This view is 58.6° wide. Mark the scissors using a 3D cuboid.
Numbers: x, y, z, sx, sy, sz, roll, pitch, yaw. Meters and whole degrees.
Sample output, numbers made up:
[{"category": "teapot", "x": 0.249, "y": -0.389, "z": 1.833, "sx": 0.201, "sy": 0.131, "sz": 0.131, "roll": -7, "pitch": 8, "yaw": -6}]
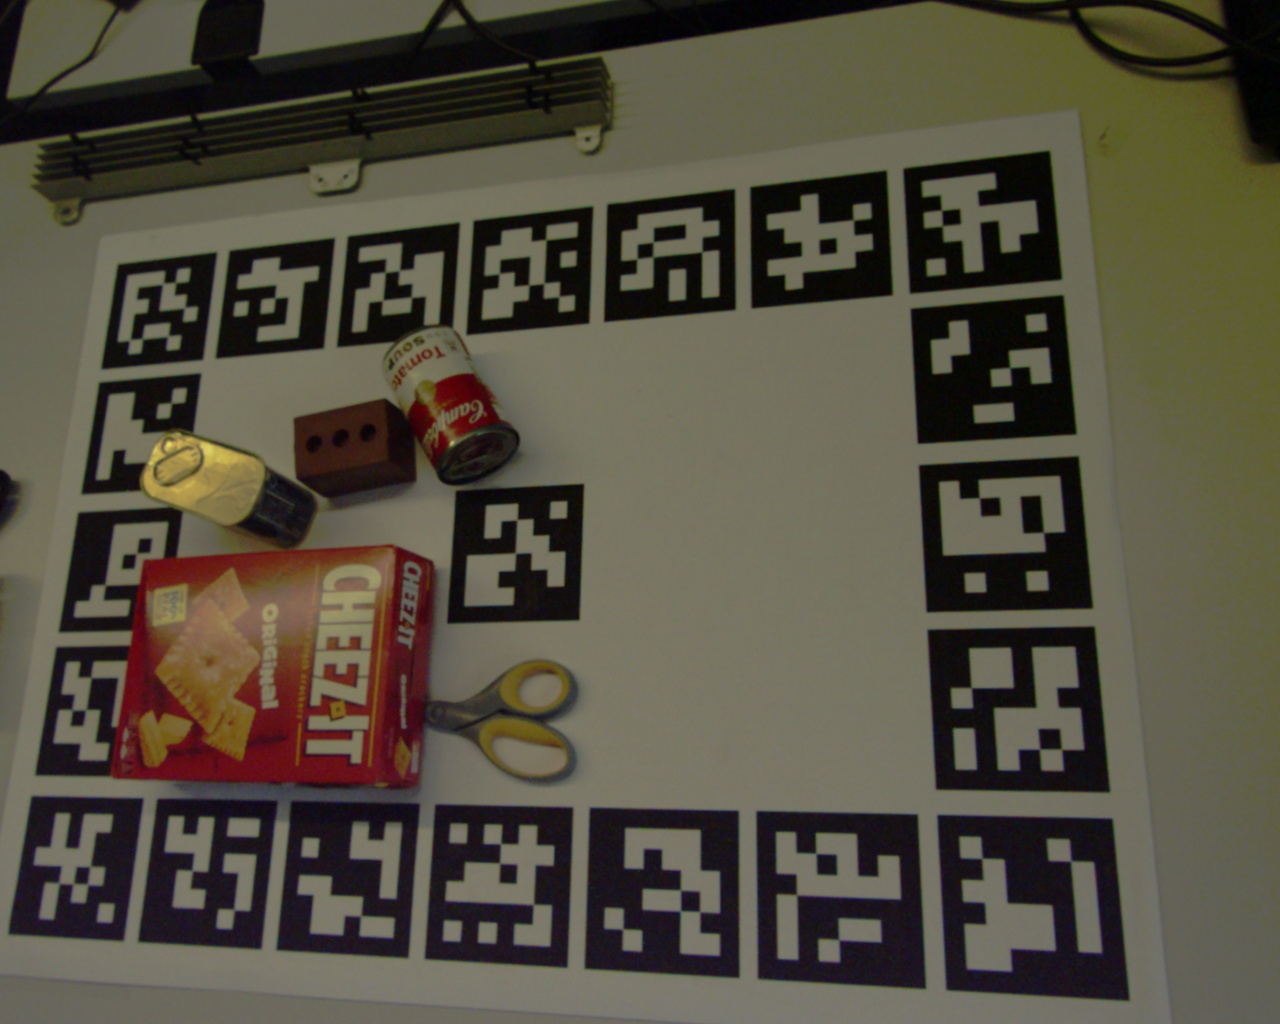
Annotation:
[{"category": "scissors", "x": -0.150, "y": 0.158, "z": 0.837, "sx": 0.204, "sy": 0.016, "sz": 0.088, "roll": -8, "pitch": 75, "yaw": 14}]

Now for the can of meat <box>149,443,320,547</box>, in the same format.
[{"category": "can of meat", "x": -0.317, "y": -0.010, "z": 0.902, "sx": 0.103, "sy": 0.083, "sz": 0.058, "roll": 11, "pitch": 80, "yaw": 17}]

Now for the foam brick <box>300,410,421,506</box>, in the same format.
[{"category": "foam brick", "x": -0.220, "y": -0.042, "z": 0.902, "sx": 0.078, "sy": 0.051, "sz": 0.053, "roll": -13, "pitch": 74, "yaw": 12}]

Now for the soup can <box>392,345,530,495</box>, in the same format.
[{"category": "soup can", "x": -0.140, "y": -0.072, "z": 0.887, "sx": 0.068, "sy": 0.067, "sz": 0.103, "roll": -39, "pitch": 65, "yaw": 3}]

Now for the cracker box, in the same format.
[{"category": "cracker box", "x": -0.270, "y": 0.122, "z": 0.847, "sx": 0.215, "sy": 0.071, "sz": 0.164, "roll": -9, "pitch": 73, "yaw": 17}]
